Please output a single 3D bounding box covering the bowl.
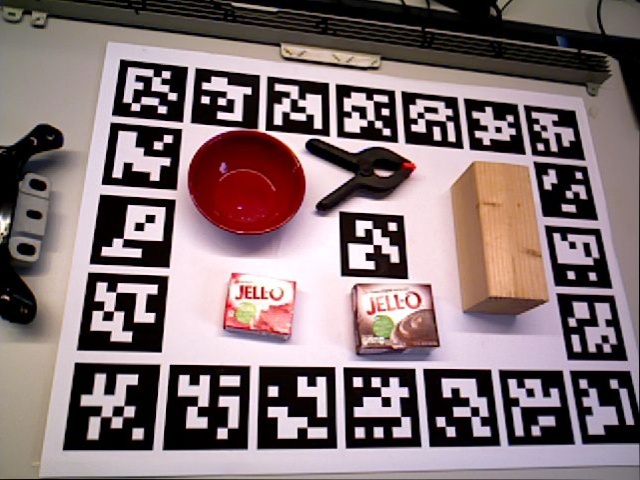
[{"bbox_3d":[-0.102,-0.074,0.753,0.160,0.056,0.160,4,72,-12],"label":"bowl"}]

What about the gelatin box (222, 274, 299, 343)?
[{"bbox_3d":[-0.077,0.089,0.704,0.089,0.031,0.072,11,70,-8],"label":"gelatin box"}]

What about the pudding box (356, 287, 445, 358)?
[{"bbox_3d":[0.105,0.112,0.730,0.113,0.039,0.089,2,74,-8],"label":"pudding box"}]

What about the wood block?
[{"bbox_3d":[0.264,0.004,0.773,0.089,0.092,0.204,6,69,-11],"label":"wood block"}]

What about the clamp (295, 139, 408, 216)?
[{"bbox_3d":[0.053,-0.099,0.805,0.163,0.037,0.121,-6,71,-16],"label":"clamp"}]
